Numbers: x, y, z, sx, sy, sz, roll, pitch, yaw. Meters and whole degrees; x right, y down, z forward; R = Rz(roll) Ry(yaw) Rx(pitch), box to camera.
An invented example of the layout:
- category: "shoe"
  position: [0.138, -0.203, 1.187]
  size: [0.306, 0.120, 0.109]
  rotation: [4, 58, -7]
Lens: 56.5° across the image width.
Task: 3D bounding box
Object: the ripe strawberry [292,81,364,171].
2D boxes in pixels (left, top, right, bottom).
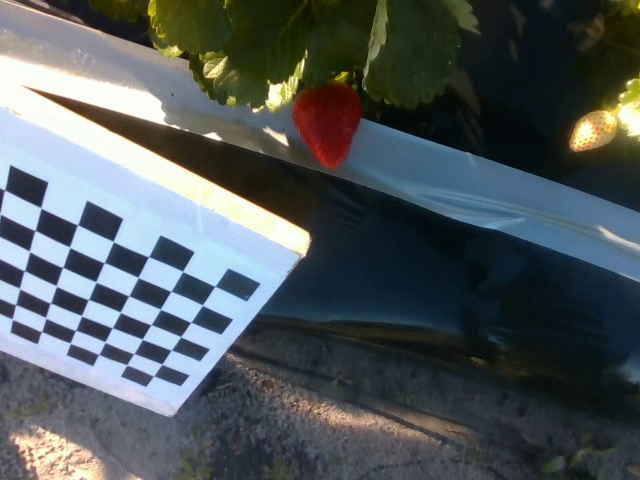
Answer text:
- category: "ripe strawberry"
  position: [0.004, -0.070, 0.351]
  size: [0.045, 0.064, 0.049]
  rotation: [-22, -26, 34]
